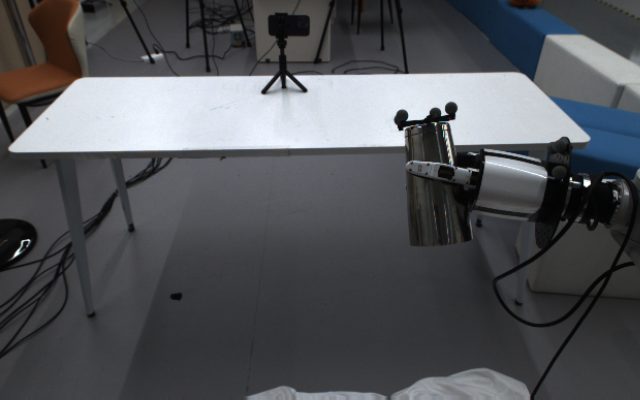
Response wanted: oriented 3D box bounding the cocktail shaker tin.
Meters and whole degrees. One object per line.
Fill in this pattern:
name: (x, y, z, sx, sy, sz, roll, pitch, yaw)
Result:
cocktail shaker tin: (0.167, -0.024, 0.710, 0.093, 0.170, 0.093, -8, 1, 0)
